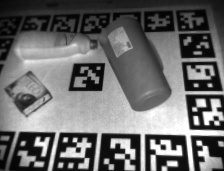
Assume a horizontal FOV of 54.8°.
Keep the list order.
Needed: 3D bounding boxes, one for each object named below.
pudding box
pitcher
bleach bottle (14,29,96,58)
[{"bbox_3d":[-0.245,0.008,0.634,0.090,0.039,0.113,-38,66,-20],"label":"pudding box"},{"bbox_3d":[0.073,-0.066,0.614,0.191,0.132,0.241,-6,61,-36],"label":"pitcher"},{"bbox_3d":[-0.177,-0.149,0.703,0.250,0.068,0.102,-3,66,2],"label":"bleach bottle"}]
